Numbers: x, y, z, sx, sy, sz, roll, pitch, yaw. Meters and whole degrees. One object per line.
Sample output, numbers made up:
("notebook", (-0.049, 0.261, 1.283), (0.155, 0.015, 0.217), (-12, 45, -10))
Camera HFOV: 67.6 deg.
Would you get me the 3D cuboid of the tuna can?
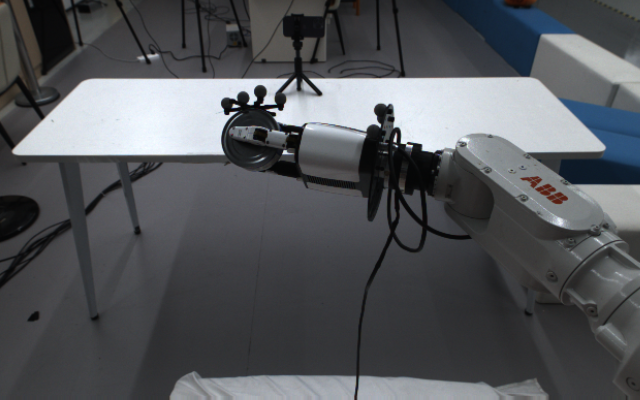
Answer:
("tuna can", (-0.091, -0.084, 0.688), (0.085, 0.085, 0.034), (10, -7, 12))
